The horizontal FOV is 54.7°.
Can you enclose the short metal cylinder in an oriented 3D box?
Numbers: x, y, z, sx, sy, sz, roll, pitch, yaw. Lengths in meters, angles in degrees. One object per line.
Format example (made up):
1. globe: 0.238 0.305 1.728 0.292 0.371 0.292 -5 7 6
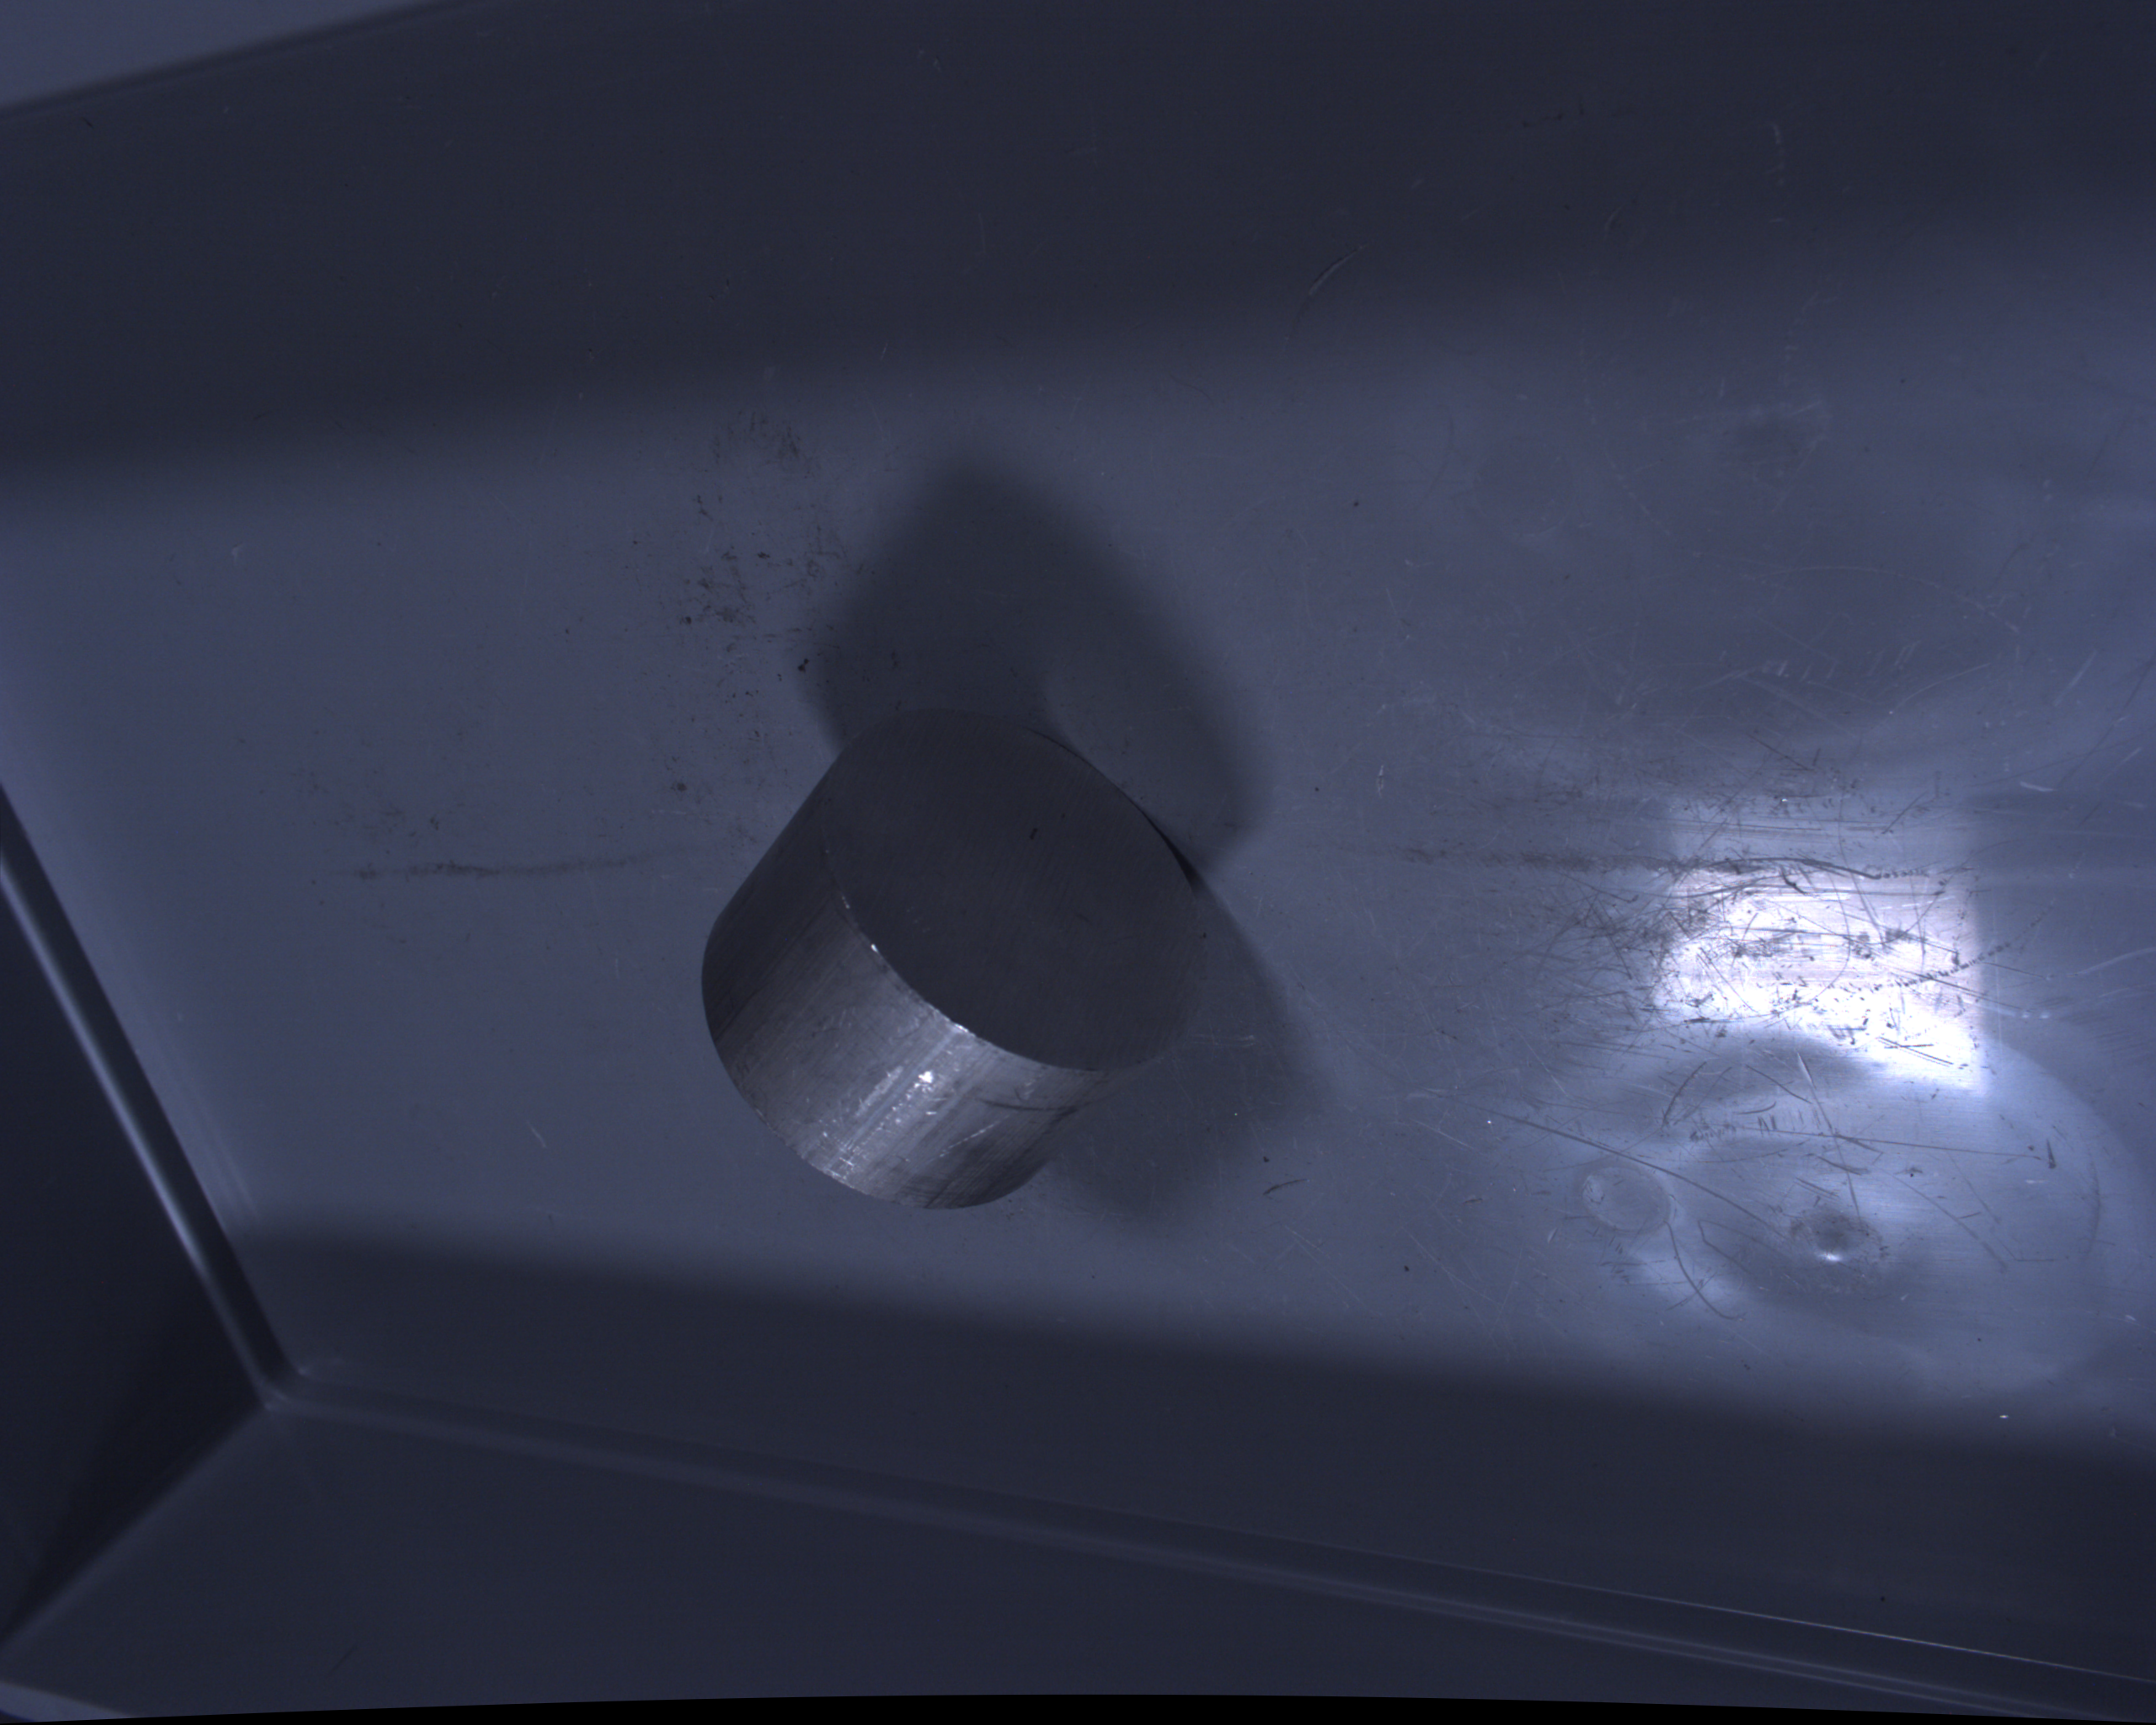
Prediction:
1. short metal cylinder: -0.023 0.018 0.392 0.080 0.080 0.050 41 129 -1
